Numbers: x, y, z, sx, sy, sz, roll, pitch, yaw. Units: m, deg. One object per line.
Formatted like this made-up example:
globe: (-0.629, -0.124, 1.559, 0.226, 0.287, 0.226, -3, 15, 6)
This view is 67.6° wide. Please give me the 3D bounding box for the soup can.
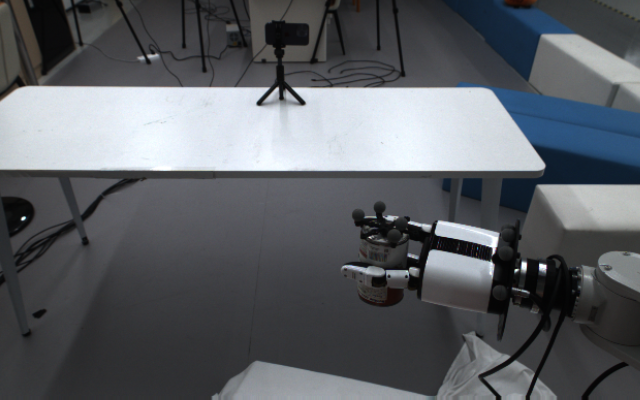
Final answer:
soup can: (0.089, 0.087, 0.672, 0.067, 0.101, 0.067, 1, 25, 0)
